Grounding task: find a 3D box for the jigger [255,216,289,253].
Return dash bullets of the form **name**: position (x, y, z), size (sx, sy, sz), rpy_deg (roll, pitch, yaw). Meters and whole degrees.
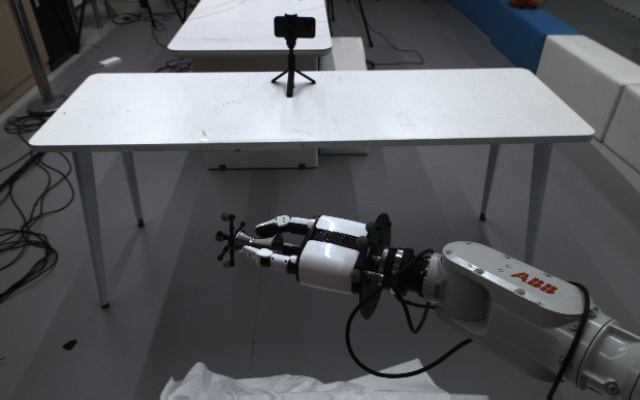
- **jigger**: position (-0.093, 0.069, 0.783), size (0.071, 0.043, 0.043), rpy_deg (5, 34, 21)
